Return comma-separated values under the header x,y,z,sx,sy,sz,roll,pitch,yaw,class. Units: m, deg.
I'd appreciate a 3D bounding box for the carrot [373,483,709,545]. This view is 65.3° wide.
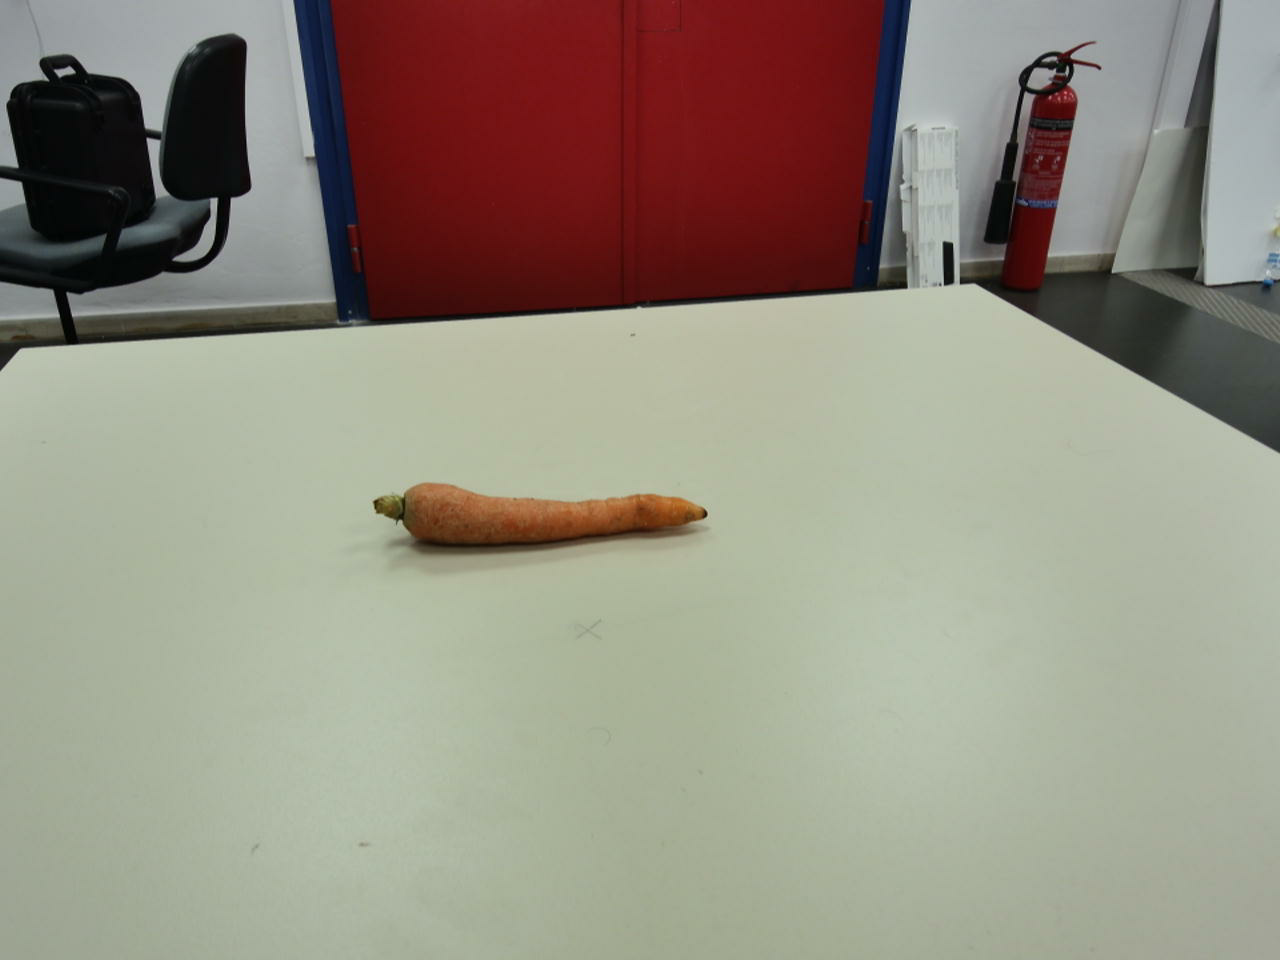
x,y,z,sx,sy,sz,roll,pitch,yaw,class
-0.047,0.016,0.512,0.173,0.032,0.030,-1,26,-3,carrot
